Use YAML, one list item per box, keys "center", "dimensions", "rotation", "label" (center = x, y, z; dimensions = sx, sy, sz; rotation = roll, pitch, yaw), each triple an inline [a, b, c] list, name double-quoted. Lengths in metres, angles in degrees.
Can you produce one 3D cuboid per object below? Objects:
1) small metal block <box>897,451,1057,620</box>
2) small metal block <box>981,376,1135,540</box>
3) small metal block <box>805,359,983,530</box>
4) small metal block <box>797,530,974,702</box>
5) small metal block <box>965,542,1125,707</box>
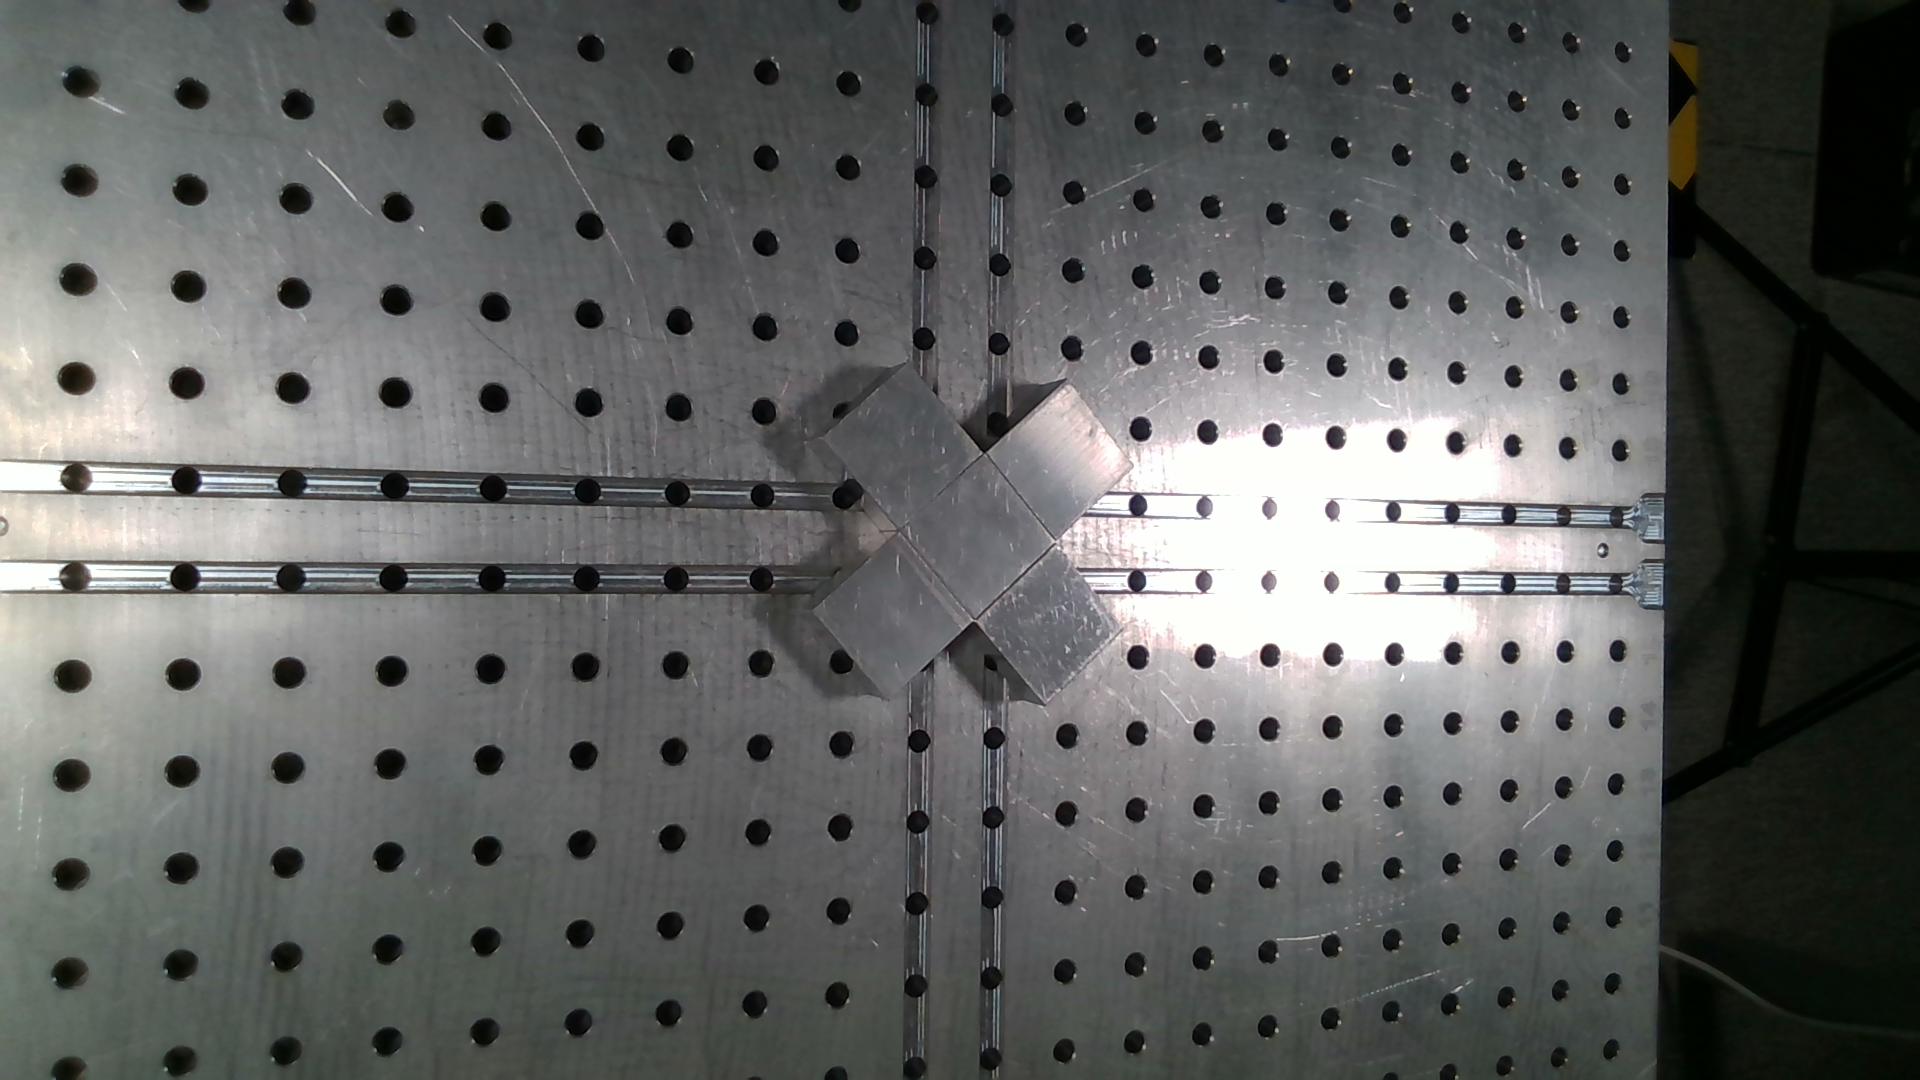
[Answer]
- center: [0.004, -0.002, 0.589]
  dimensions: [0.050, 0.025, 0.050]
  rotation: [-43, 104, -15]
  label: "small metal block"
- center: [0.039, -0.035, 0.603]
  dimensions: [0.050, 0.025, 0.050]
  rotation: [-43, 104, -15]
  label: "small metal block"
- center: [-0.028, -0.039, 0.578]
  dimensions: [0.050, 0.025, 0.050]
  rotation: [-43, 104, -15]
  label: "small metal block"
- center: [-0.032, 0.031, 0.577]
  dimensions: [0.050, 0.025, 0.050]
  rotation: [-43, 104, -15]
  label: "small metal block"
- center: [0.035, 0.036, 0.601]
  dimensions: [0.050, 0.025, 0.050]
  rotation: [-43, 104, -15]
  label: "small metal block"
